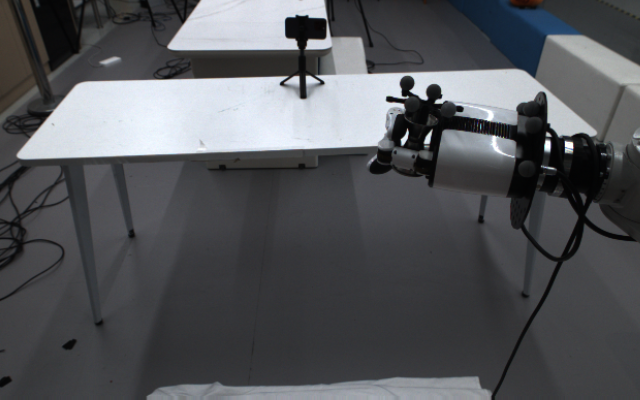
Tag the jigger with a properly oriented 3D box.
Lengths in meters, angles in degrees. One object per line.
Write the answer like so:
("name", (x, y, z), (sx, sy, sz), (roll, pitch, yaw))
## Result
("jigger", (0.116, -0.067, 0.588), (0.043, 0.071, 0.043), (7, 32, -4))
